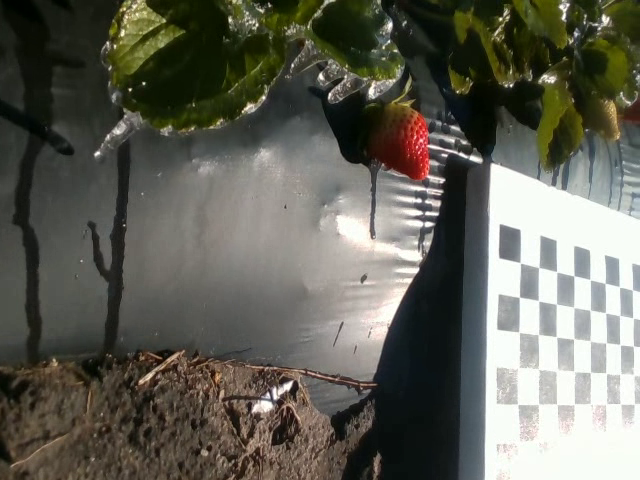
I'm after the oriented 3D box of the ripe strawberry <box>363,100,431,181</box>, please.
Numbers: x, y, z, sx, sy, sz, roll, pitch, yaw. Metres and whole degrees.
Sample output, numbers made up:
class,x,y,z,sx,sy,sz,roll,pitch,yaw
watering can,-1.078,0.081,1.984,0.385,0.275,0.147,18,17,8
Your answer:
class,x,y,z,sx,sy,sz,roll,pitch,yaw
ripe strawberry,0.048,-0.054,0.350,0.039,0.053,0.041,-16,-11,-39
